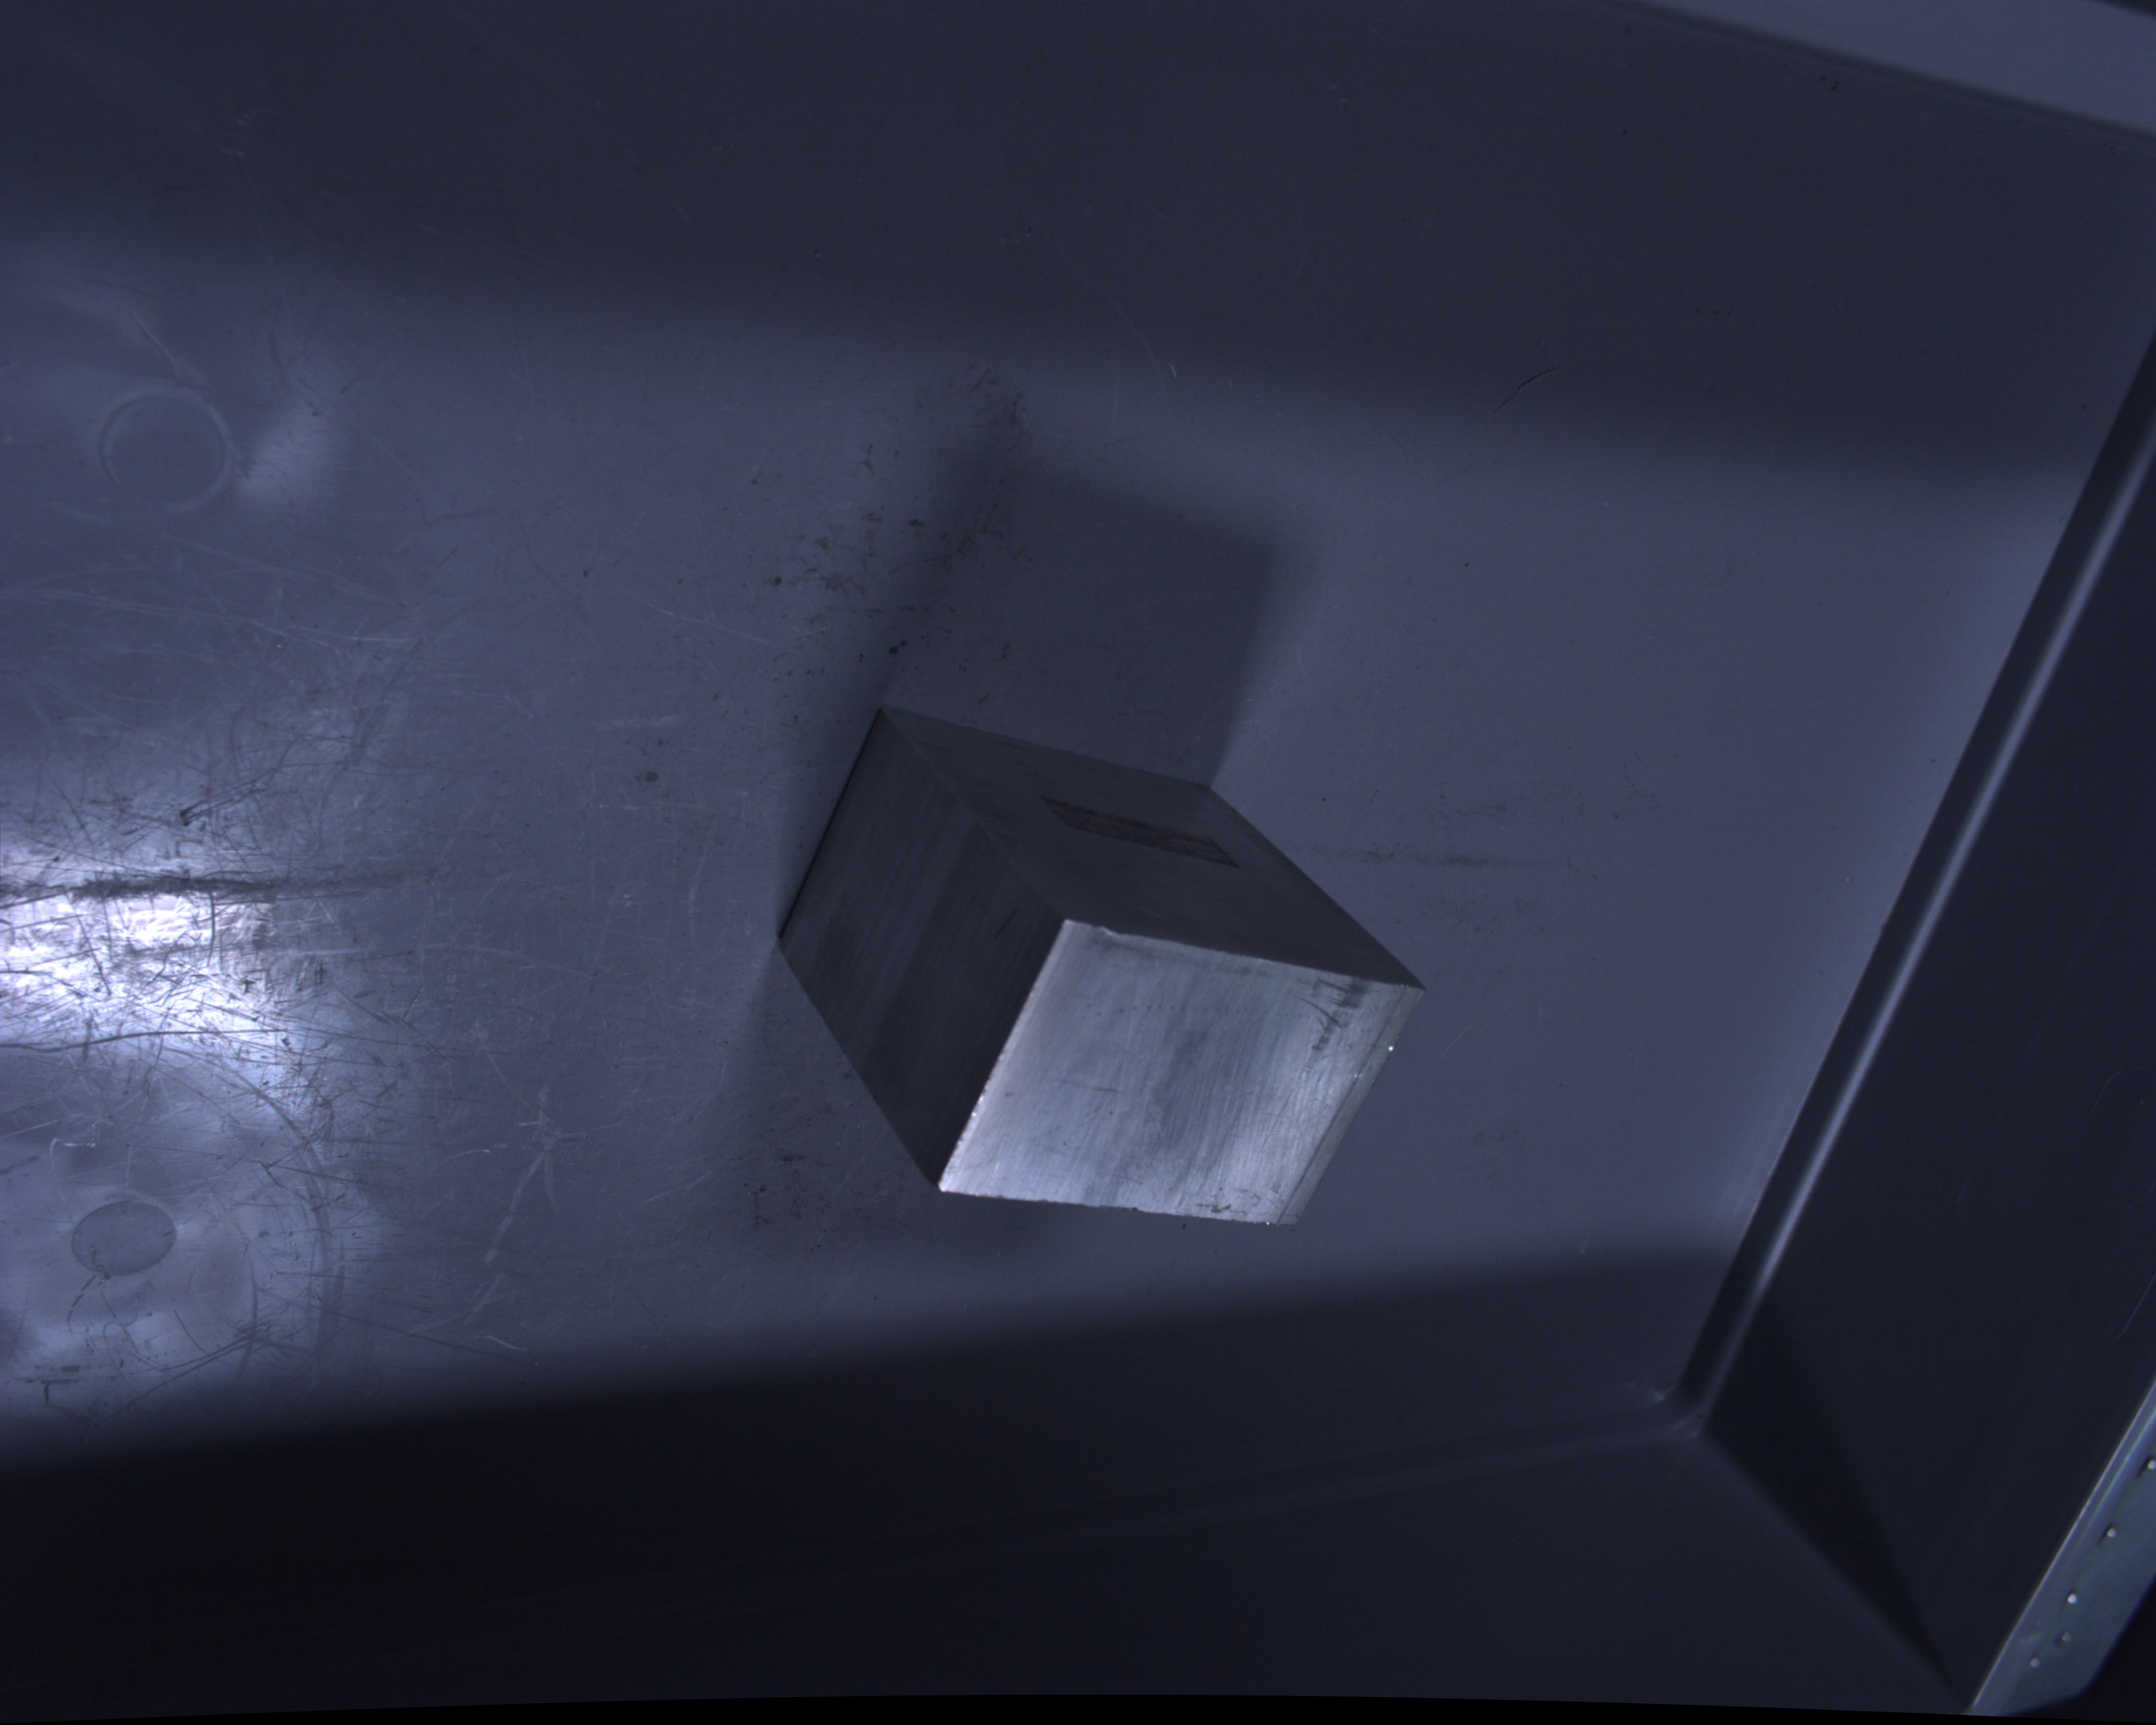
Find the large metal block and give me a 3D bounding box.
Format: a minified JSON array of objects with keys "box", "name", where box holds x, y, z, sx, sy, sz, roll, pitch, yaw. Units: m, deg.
[{"box":[0.003,0.019,0.385,0.081,0.080,0.050,13,112,-34],"name":"large metal block"}]
